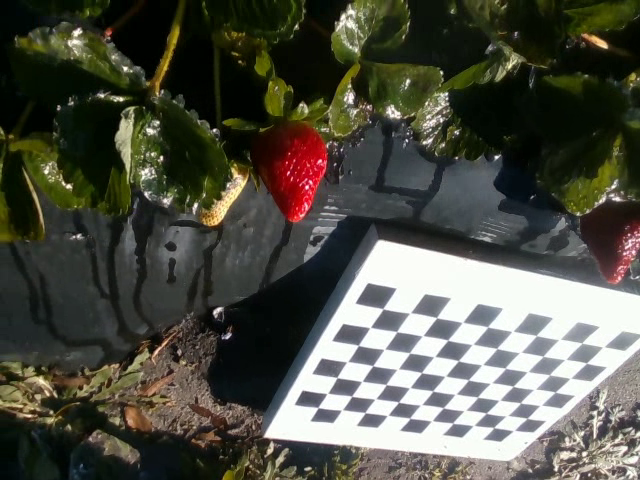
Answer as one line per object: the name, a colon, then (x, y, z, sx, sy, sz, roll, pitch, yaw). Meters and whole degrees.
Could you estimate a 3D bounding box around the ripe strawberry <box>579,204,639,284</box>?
ripe strawberry: (0.202, 0.004, 0.412, 0.048, 0.061, 0.044, 7, 10, -14)

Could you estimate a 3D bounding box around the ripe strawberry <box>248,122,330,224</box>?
ripe strawberry: (-0.015, -0.036, 0.352, 0.042, 0.061, 0.046, 1, 2, -9)
